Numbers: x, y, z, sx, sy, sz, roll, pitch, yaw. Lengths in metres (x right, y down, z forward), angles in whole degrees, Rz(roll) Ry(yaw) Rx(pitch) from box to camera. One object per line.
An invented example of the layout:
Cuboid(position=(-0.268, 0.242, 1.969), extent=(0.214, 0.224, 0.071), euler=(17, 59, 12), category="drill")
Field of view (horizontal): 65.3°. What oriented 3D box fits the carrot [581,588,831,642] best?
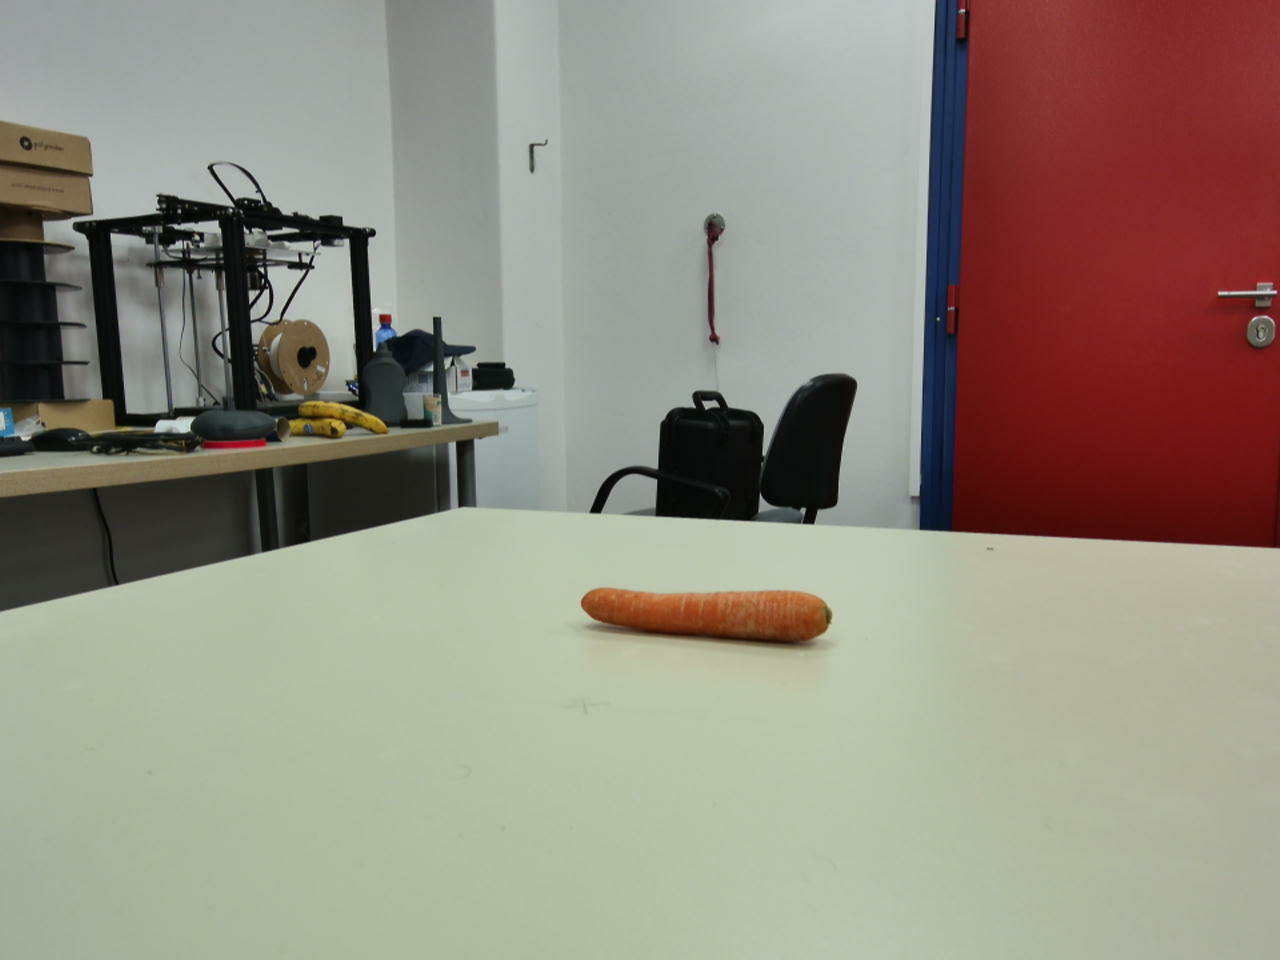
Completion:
Cuboid(position=(0.029, 0.062, 0.474), extent=(0.122, 0.023, 0.024), euler=(2, 4, 22), category="carrot")
